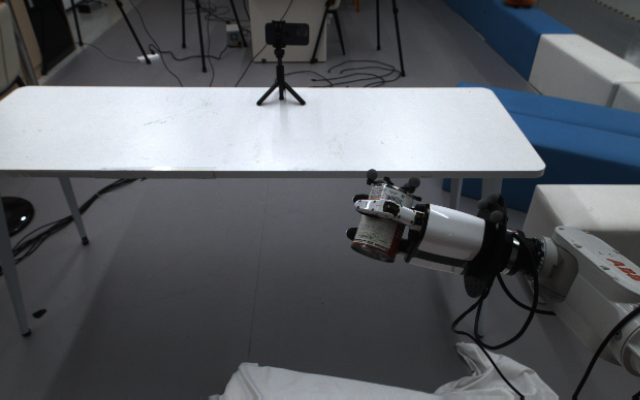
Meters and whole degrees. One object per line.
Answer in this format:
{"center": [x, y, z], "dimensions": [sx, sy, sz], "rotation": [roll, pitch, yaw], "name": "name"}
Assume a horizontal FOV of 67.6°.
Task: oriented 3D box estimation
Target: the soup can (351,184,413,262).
{"center": [0.095, 0.035, 0.725], "dimensions": [0.067, 0.067, 0.101], "rotation": [15, 75, 18], "name": "soup can"}
